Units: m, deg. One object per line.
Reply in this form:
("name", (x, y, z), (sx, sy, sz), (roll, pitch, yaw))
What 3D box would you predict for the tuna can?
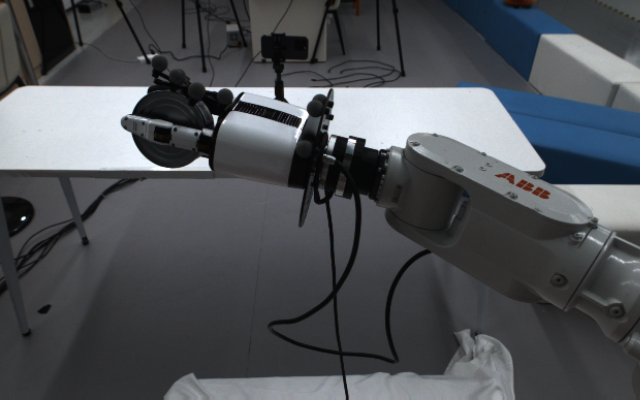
("tuna can", (-0.163, -0.082, 0.542), (0.085, 0.085, 0.034), (6, 17, 6))
